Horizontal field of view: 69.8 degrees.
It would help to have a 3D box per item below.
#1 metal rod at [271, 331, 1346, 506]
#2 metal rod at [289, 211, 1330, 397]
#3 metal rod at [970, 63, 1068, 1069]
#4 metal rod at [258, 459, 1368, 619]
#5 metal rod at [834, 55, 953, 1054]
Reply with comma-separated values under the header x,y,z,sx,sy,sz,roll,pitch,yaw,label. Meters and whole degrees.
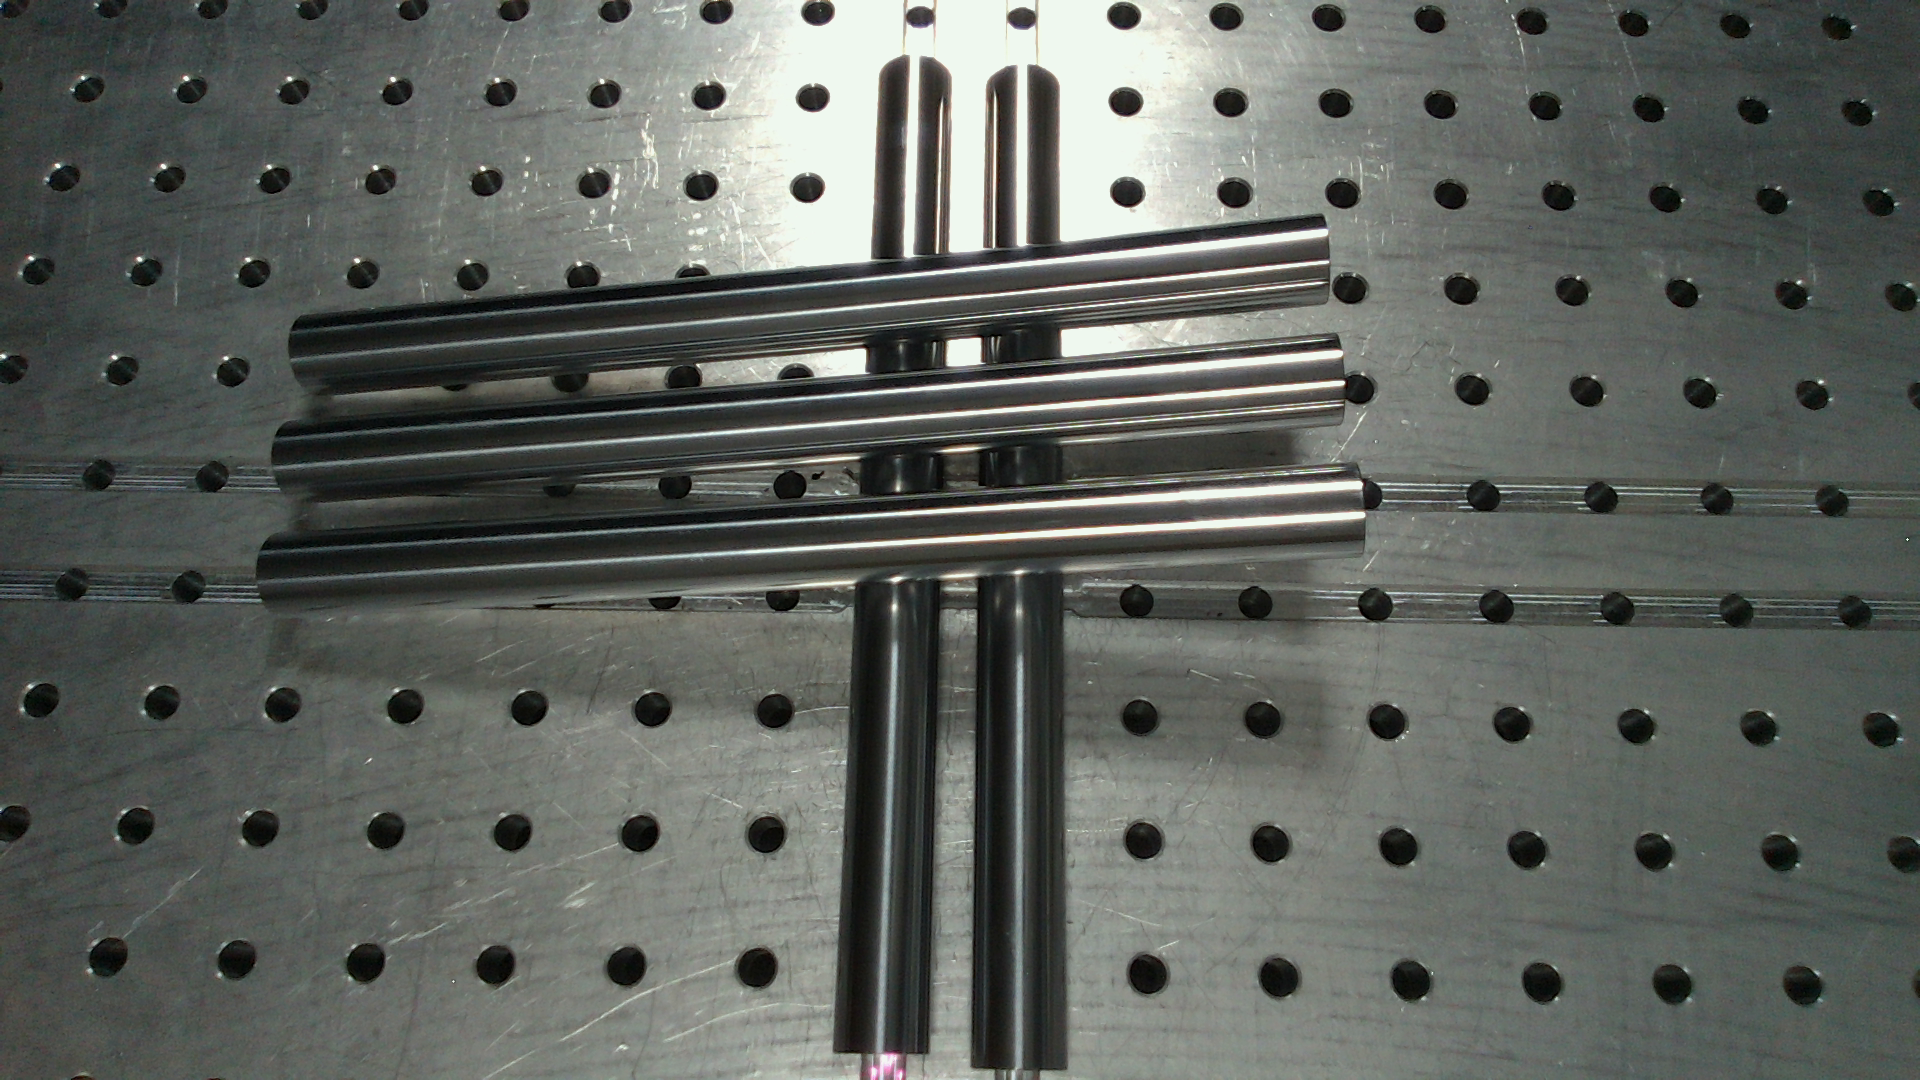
x,y,z,sx,sy,sz,roll,pitch,yaw,label
-0.047,-0.033,0.387,0.300,0.025,0.025,-4,70,7,metal rod
-0.048,-0.067,0.399,0.300,0.025,0.025,-4,70,7,metal rod
0.017,-0.007,0.400,0.025,0.025,0.300,1,70,0,metal rod
-0.045,0.001,0.374,0.300,0.025,0.025,-4,70,8,metal rod
-0.017,-0.010,0.401,0.025,0.025,0.300,1,70,0,metal rod
